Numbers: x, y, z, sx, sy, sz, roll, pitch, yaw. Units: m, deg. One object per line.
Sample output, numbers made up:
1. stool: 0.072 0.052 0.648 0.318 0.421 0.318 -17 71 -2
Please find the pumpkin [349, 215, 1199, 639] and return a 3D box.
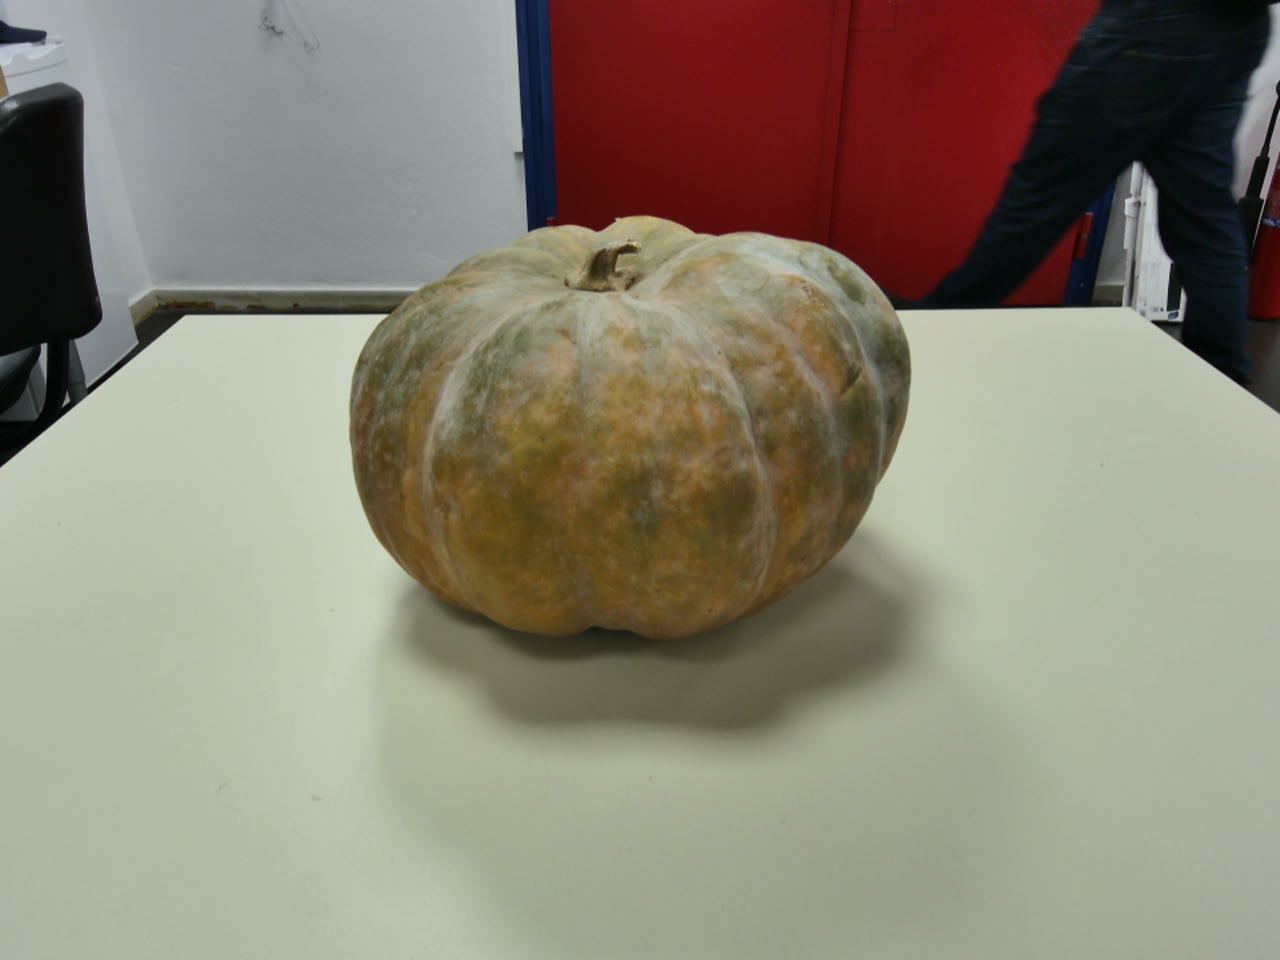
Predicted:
1. pumpkin: -0.011 -0.030 0.464 0.252 0.169 0.251 0 26 0
